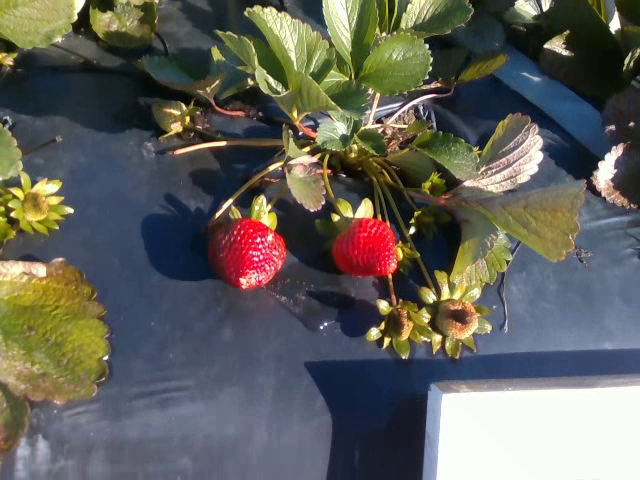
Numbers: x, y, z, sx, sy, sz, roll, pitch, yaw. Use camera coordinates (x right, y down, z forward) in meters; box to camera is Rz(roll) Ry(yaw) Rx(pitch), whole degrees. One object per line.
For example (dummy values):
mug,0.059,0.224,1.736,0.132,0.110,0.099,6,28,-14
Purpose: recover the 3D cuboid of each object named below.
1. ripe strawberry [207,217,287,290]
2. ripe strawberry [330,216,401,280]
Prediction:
ripe strawberry,-0.042,0.011,0.324,0.050,0.045,0.050,18,25,-11
ripe strawberry,0.029,0.007,0.339,0.039,0.042,0.049,48,-1,-36
